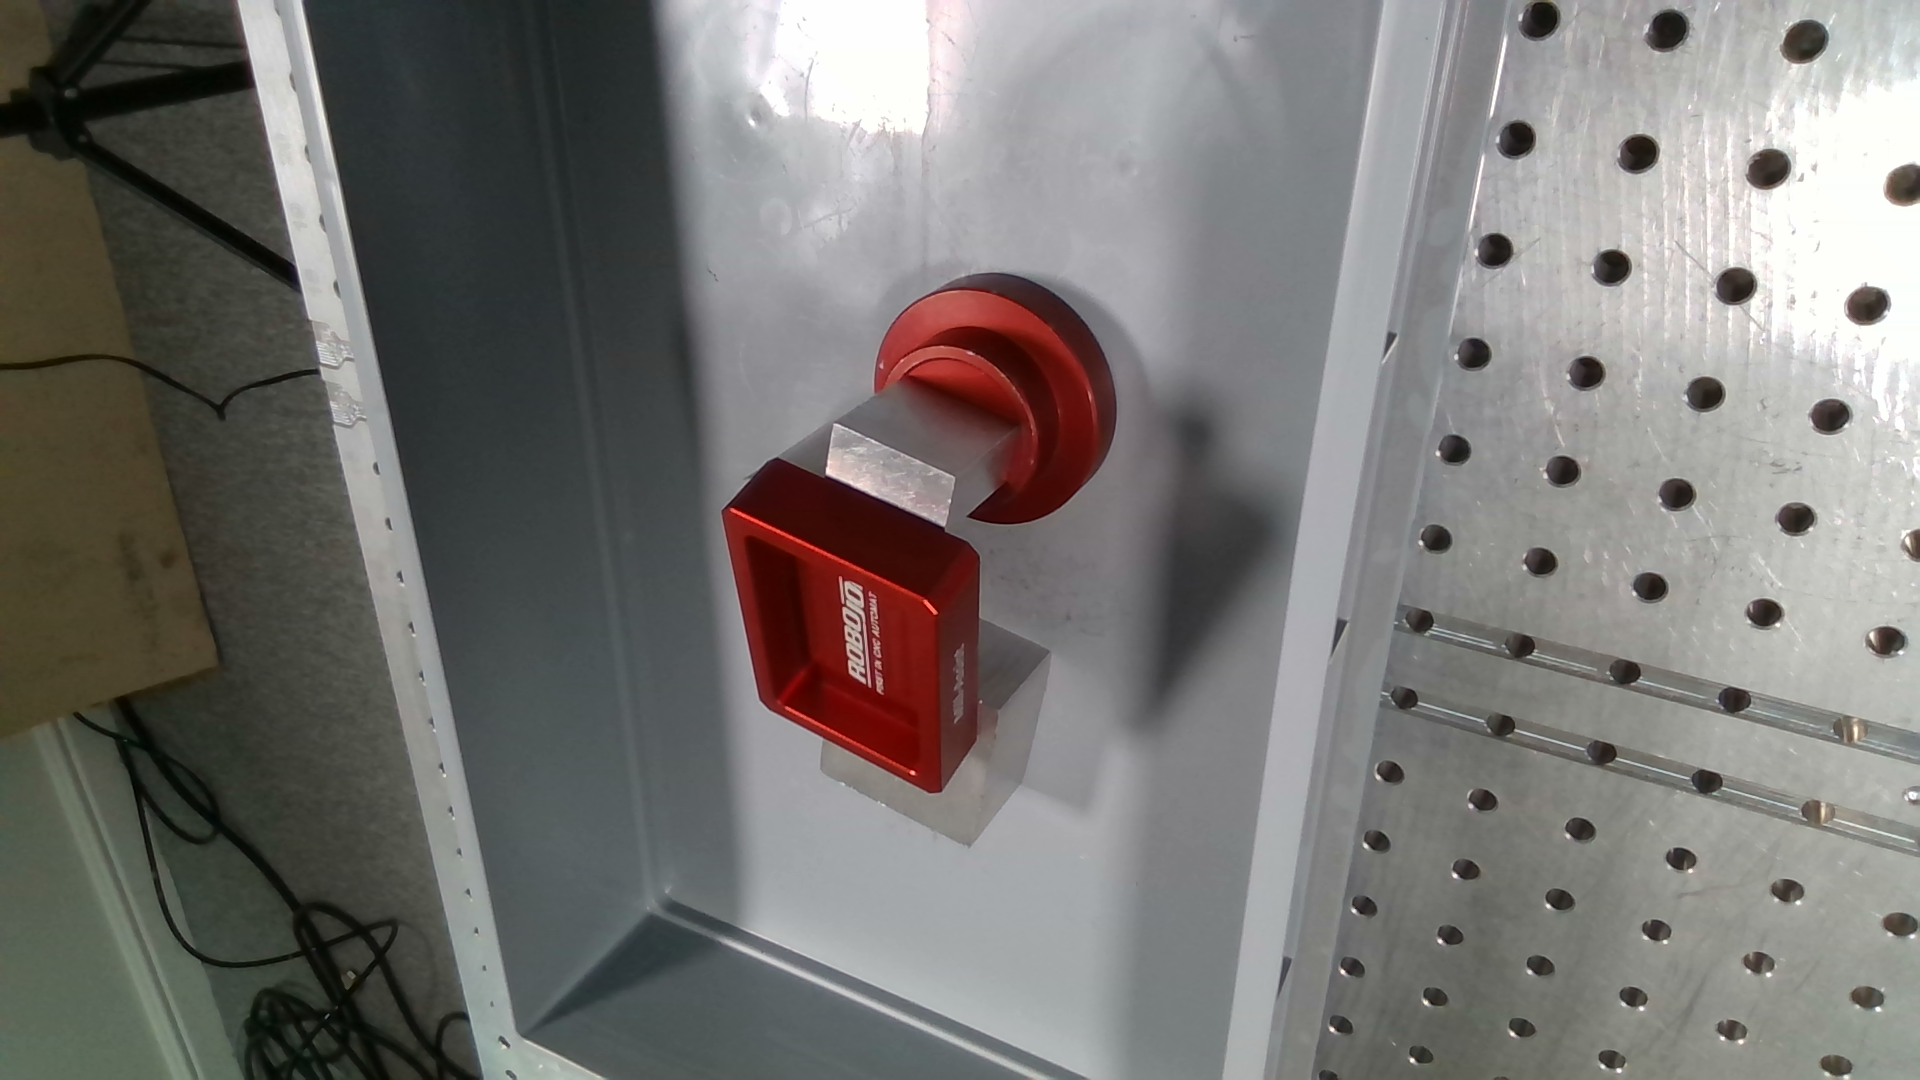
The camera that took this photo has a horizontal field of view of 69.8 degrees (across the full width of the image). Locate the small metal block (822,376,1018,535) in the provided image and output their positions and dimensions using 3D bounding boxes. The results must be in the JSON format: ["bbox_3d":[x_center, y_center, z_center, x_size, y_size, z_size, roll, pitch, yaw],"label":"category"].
[{"bbox_3d":[-0.014,-0.031,0.499,0.050,0.050,0.025,25,126,18],"label":"small metal block"}]

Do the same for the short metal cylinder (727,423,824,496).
[{"bbox_3d":[-0.052,-0.004,0.577,0.080,0.050,0.080,30,142,28],"label":"short metal cylinder"}]

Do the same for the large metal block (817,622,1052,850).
[{"bbox_3d":[-0.013,0.077,0.611,0.080,0.050,0.080,23,125,19],"label":"large metal block"}]

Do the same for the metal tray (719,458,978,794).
[{"bbox_3d":[-0.040,0.037,0.528,0.090,0.030,0.130,24,144,19],"label":"metal tray"}]

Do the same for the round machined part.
[{"bbox_3d":[0.008,-0.050,0.535,0.098,0.042,0.098,14,122,25],"label":"round machined part"}]
